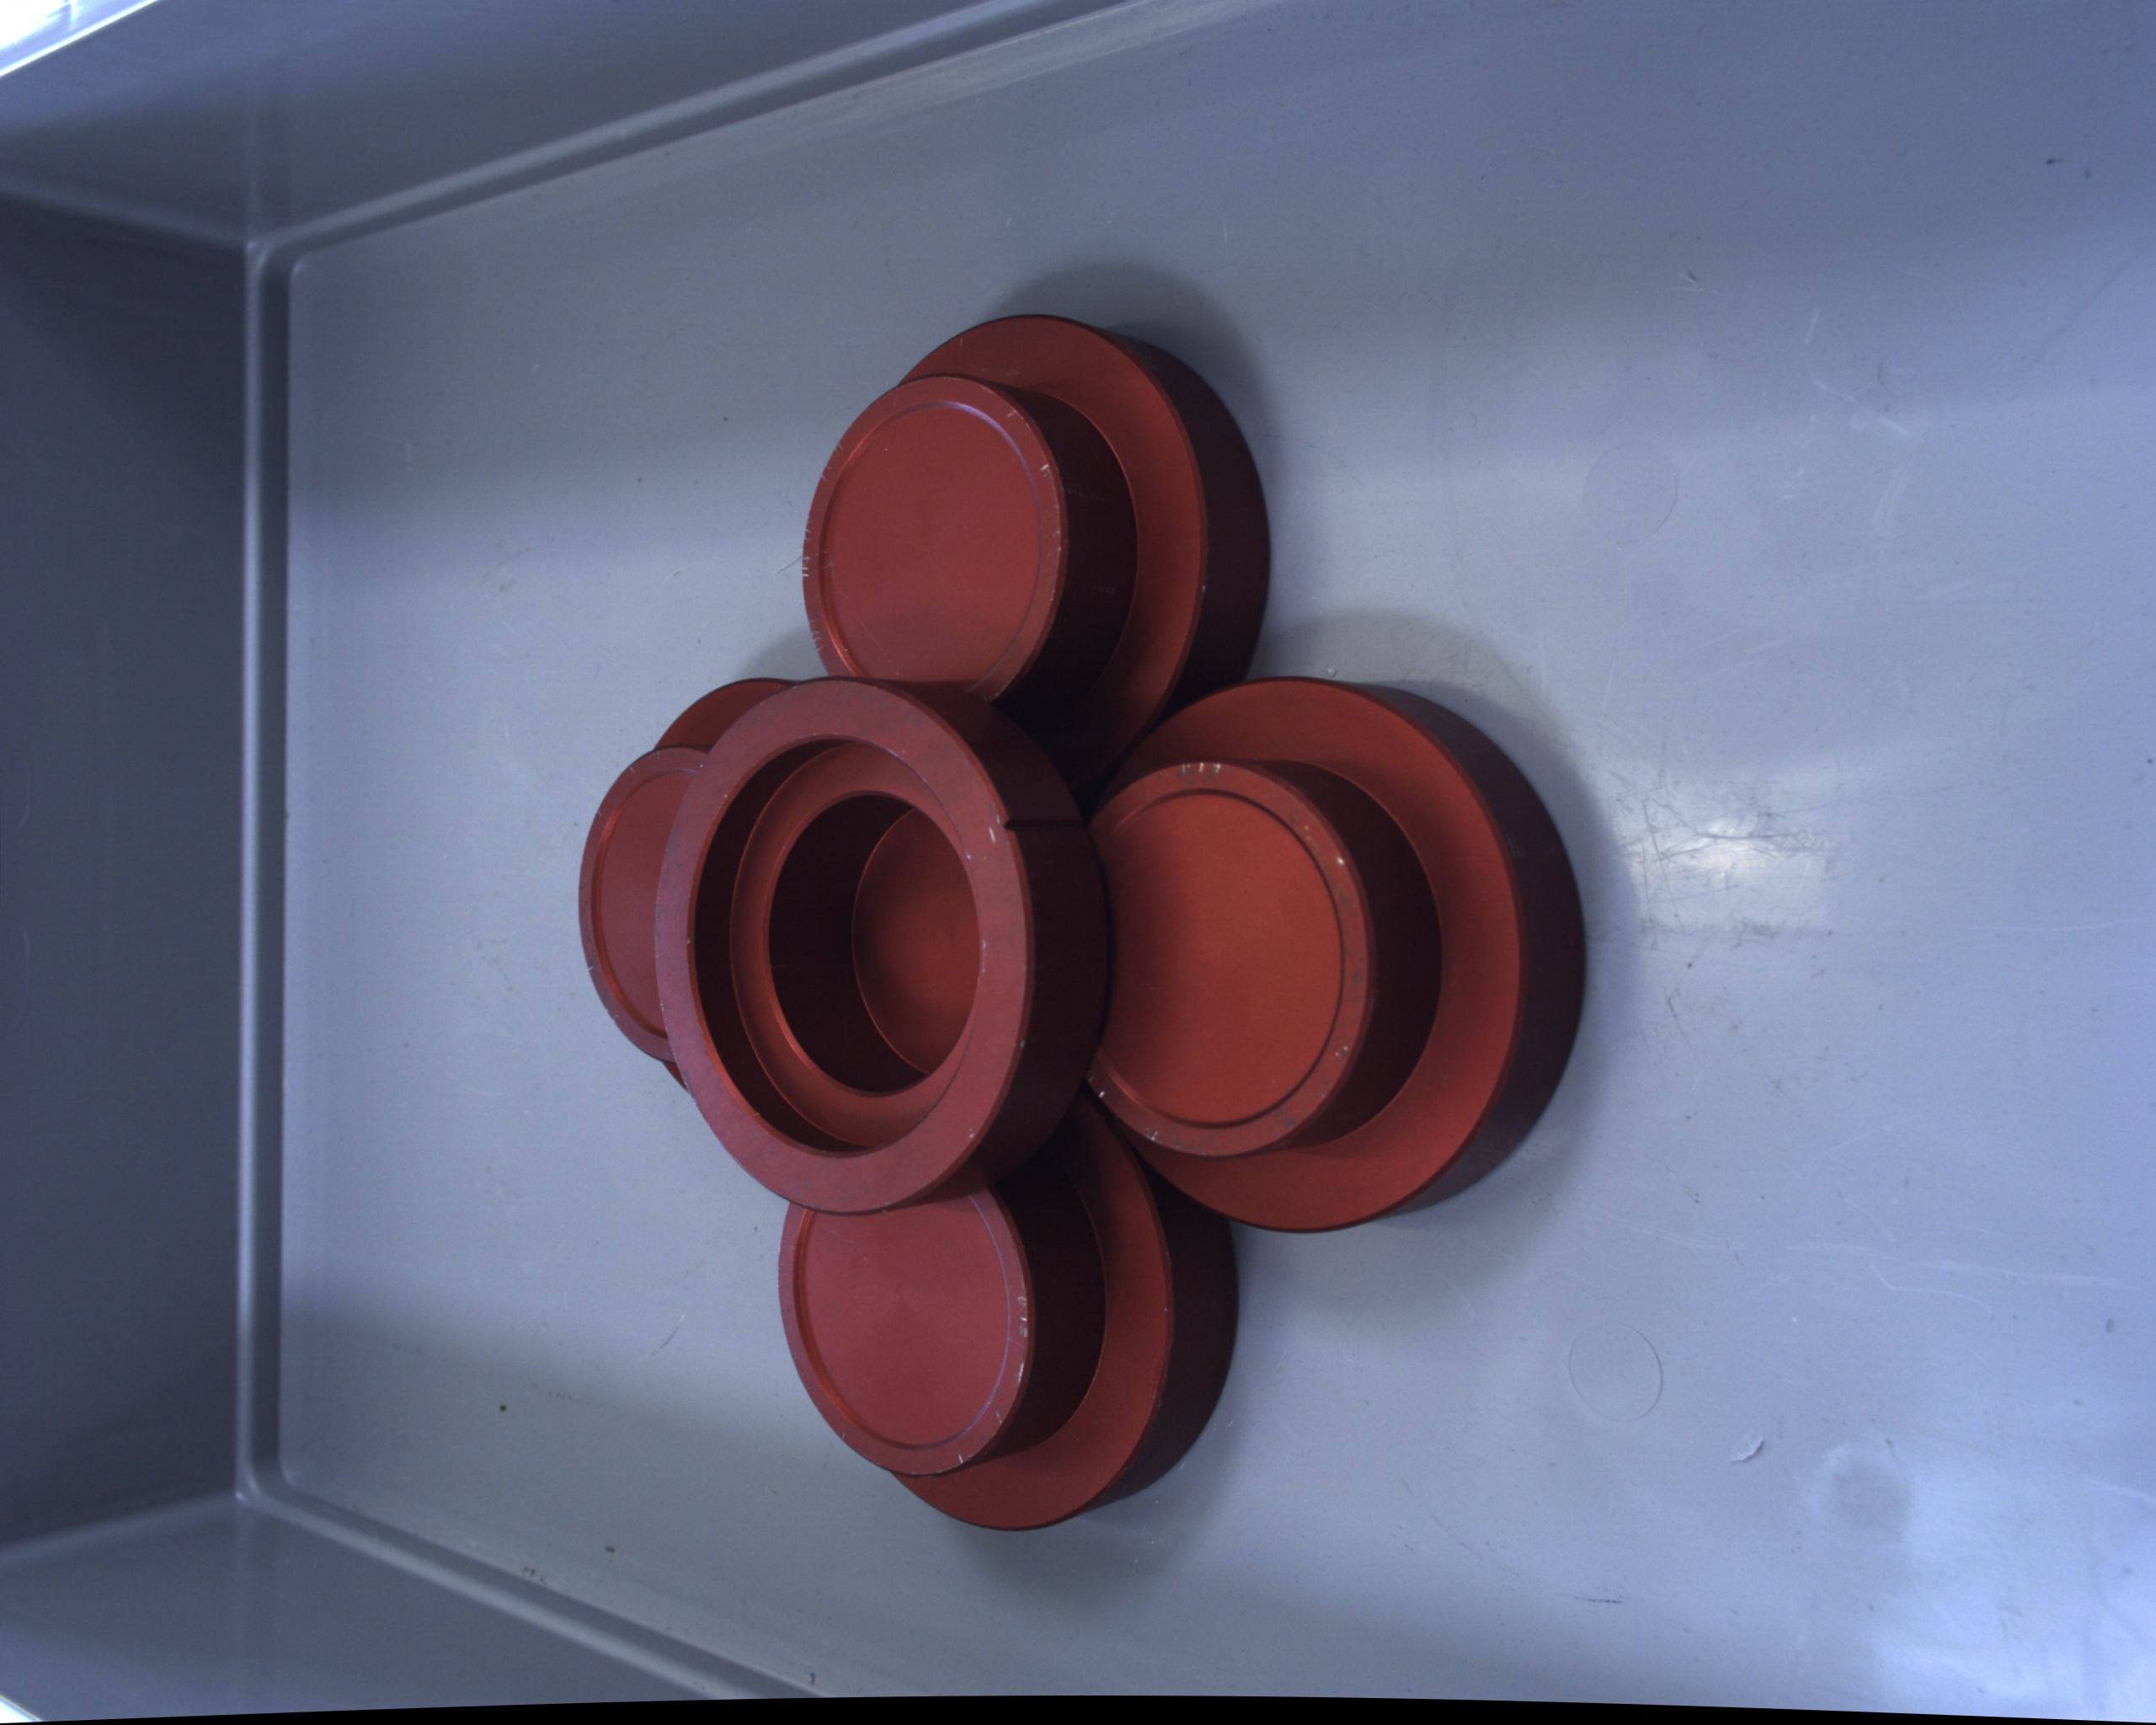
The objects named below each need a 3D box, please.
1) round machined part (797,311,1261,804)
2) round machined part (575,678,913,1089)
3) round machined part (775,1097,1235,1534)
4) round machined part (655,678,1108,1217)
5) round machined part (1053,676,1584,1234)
[{"bbox_3d":[-0.016,-0.058,0.405,0.098,0.042,0.097,0,90,40],"label":"round machined part"},{"bbox_3d":[-0.071,0.009,0.452,0.098,0.042,0.097,0,90,40],"label":"round machined part"},{"bbox_3d":[-0.021,0.082,0.411,0.098,0.042,0.097,-2,87,39],"label":"round machined part"},{"bbox_3d":[-0.032,0.015,0.392,0.098,0.042,0.097,0,90,40],"label":"round machined part"},{"bbox_3d":[0.034,0.016,0.365,0.098,0.042,0.097,0,90,40],"label":"round machined part"}]
